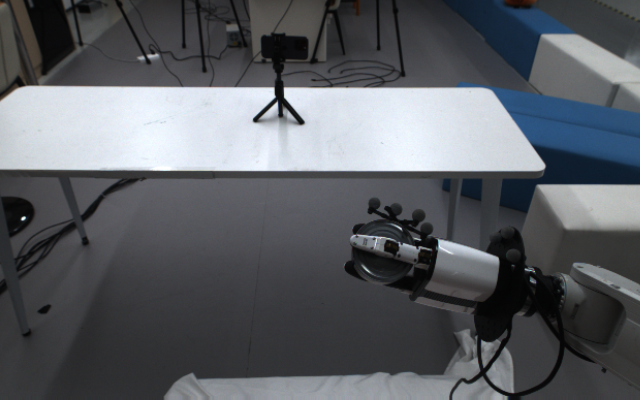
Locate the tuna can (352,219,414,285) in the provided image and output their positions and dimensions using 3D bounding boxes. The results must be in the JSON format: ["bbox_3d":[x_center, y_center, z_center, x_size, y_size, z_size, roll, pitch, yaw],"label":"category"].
[{"bbox_3d":[0.087,0.069,0.658,0.085,0.034,0.085,0,72,0],"label":"tuna can"}]
